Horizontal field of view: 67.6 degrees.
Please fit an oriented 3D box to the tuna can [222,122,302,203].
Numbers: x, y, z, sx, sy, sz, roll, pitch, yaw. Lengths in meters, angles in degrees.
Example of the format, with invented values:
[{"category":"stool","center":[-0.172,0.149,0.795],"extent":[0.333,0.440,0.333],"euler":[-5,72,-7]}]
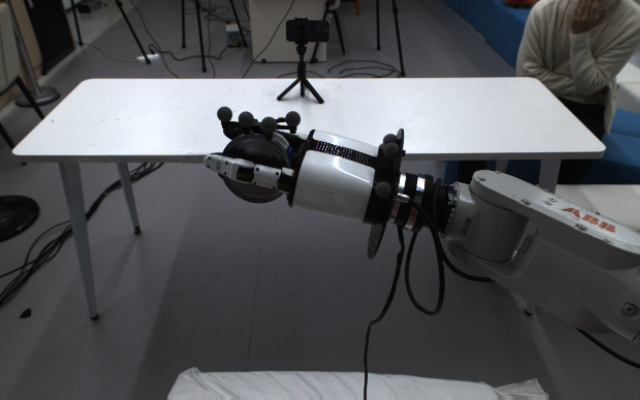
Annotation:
[{"category":"tuna can","center":[-0.072,-0.041,0.576],"extent":[0.085,0.085,0.034],"euler":[6,23,6]}]
